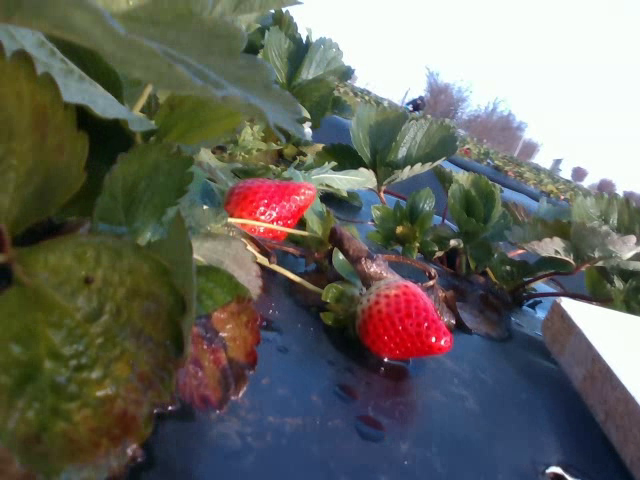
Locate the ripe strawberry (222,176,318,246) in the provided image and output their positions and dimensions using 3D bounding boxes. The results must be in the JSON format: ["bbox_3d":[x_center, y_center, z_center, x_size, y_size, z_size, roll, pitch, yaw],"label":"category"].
[{"bbox_3d":[-0.024,-0.019,0.278,0.048,0.032,0.040,-28,35,-3],"label":"ripe strawberry"}]

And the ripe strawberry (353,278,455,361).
[{"bbox_3d":[0.031,0.030,0.225,0.035,0.030,0.043,-5,30,-45],"label":"ripe strawberry"}]
